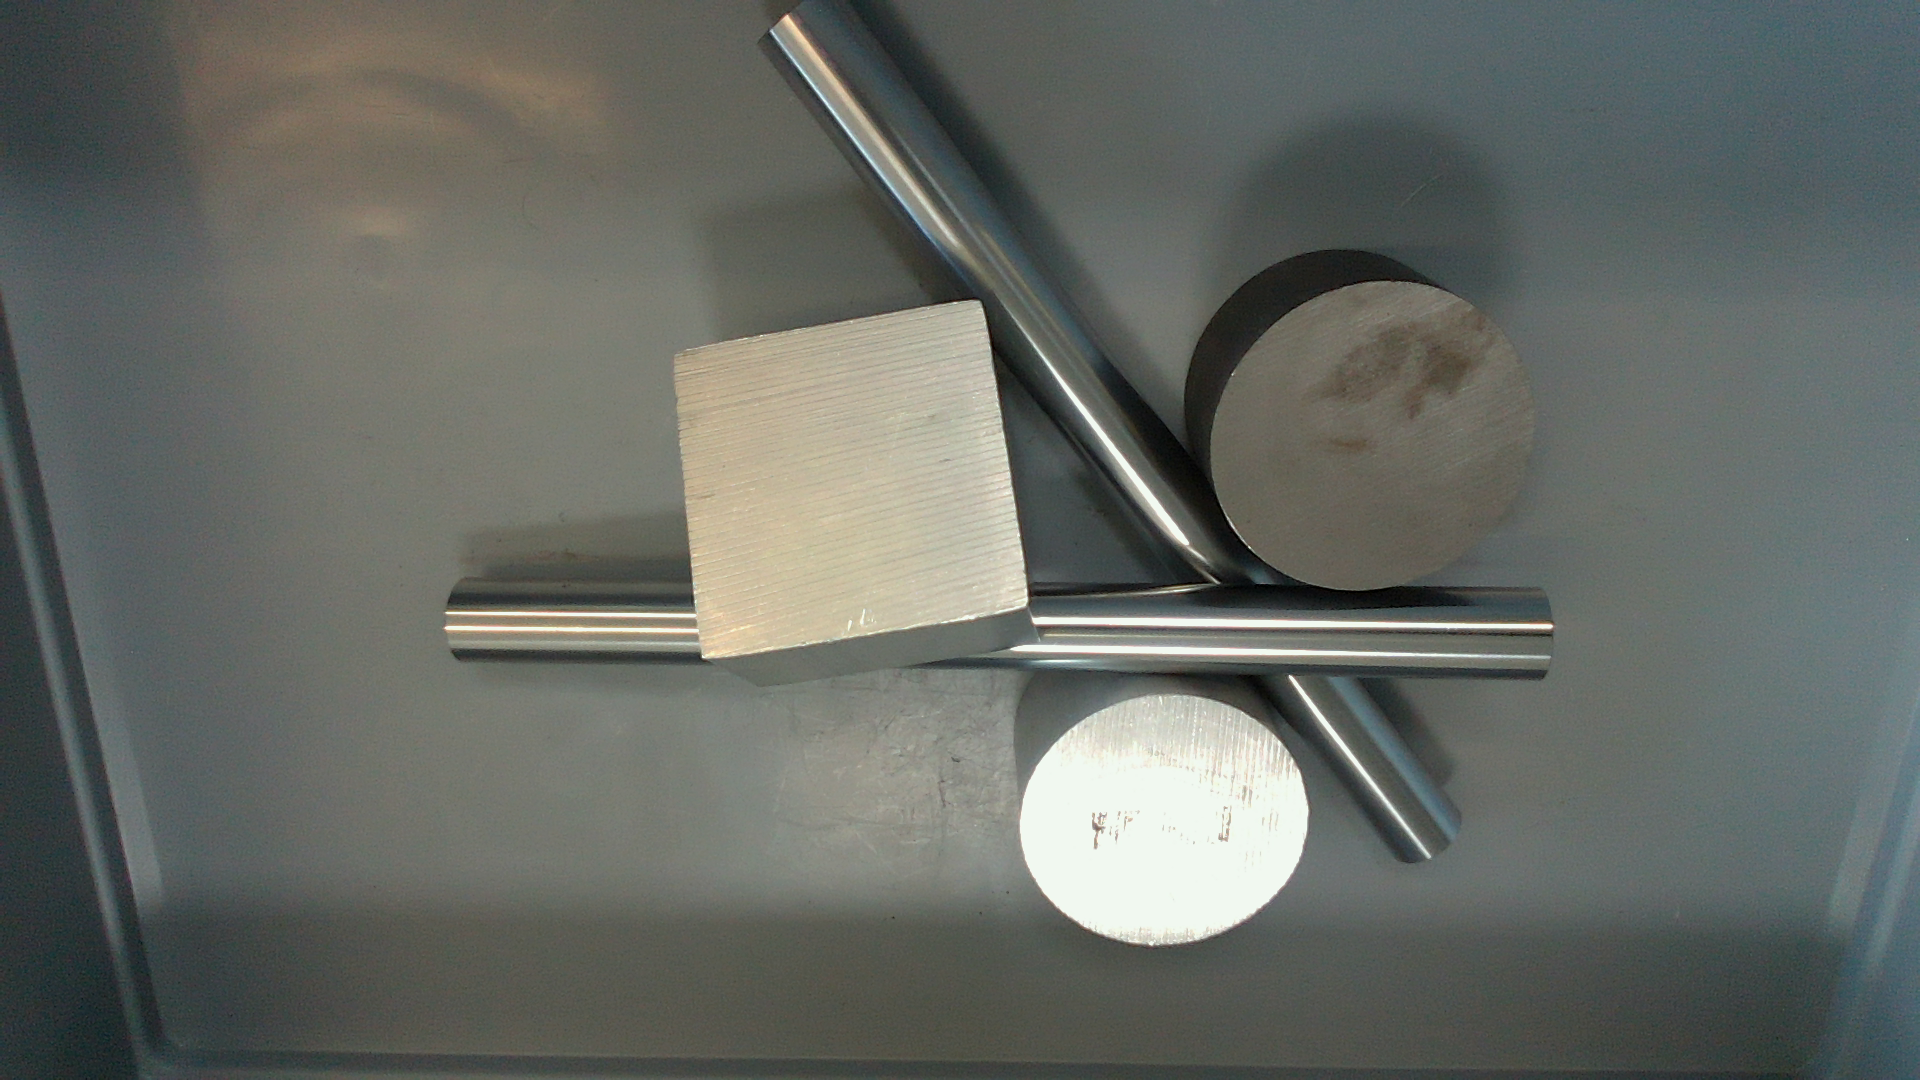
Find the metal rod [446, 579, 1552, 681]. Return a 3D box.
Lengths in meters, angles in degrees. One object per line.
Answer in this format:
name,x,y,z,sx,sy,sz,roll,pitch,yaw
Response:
metal rod,0.005,0.024,0.384,0.300,0.025,0.025,0,110,6

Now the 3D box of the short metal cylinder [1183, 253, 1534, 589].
short metal cylinder,0.103,-0.033,0.368,0.080,0.050,0.080,0,110,0

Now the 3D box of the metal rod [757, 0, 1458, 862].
metal rod,0.051,-0.021,0.386,0.025,0.025,0.300,-36,106,12

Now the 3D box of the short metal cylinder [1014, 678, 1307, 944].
short metal cylinder,0.057,0.070,0.405,0.080,0.050,0.080,0,110,0

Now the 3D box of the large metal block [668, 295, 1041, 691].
large metal block,-0.026,-0.010,0.356,0.080,0.050,0.080,-9,75,4
